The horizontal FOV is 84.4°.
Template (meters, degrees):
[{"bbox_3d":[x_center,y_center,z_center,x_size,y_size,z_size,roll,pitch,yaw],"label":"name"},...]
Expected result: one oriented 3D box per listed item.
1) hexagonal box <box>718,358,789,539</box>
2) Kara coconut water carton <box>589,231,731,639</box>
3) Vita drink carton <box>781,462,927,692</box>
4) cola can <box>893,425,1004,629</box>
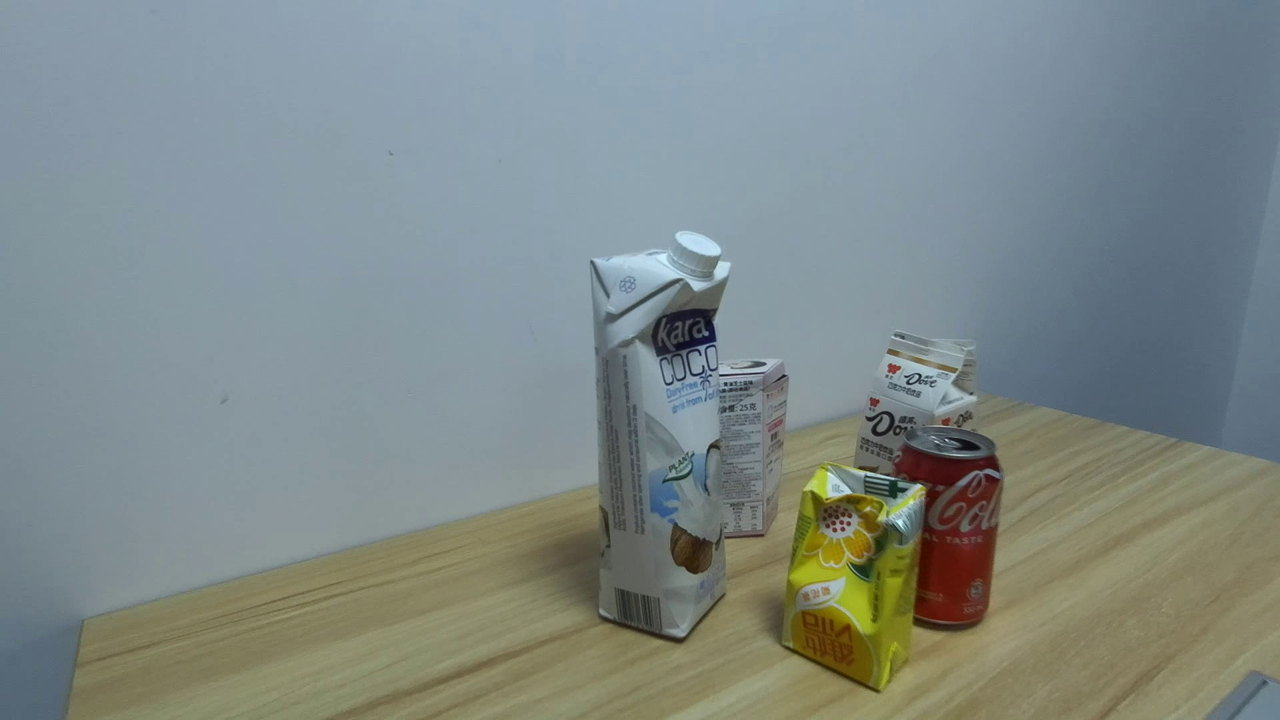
[{"bbox_3d":[0.073,0.068,0.578,0.084,0.135,0.092,6,16,25],"label":"hexagonal box"},{"bbox_3d":[0.016,0.043,0.447,0.071,0.244,0.100,7,17,29],"label":"Kara coconut water carton"},{"bbox_3d":[0.121,0.122,0.407,0.071,0.109,0.047,11,16,41],"label":"Vita drink carton"},{"bbox_3d":[0.196,0.105,0.458,0.068,0.120,0.068,-1,14,0],"label":"cola can"}]
